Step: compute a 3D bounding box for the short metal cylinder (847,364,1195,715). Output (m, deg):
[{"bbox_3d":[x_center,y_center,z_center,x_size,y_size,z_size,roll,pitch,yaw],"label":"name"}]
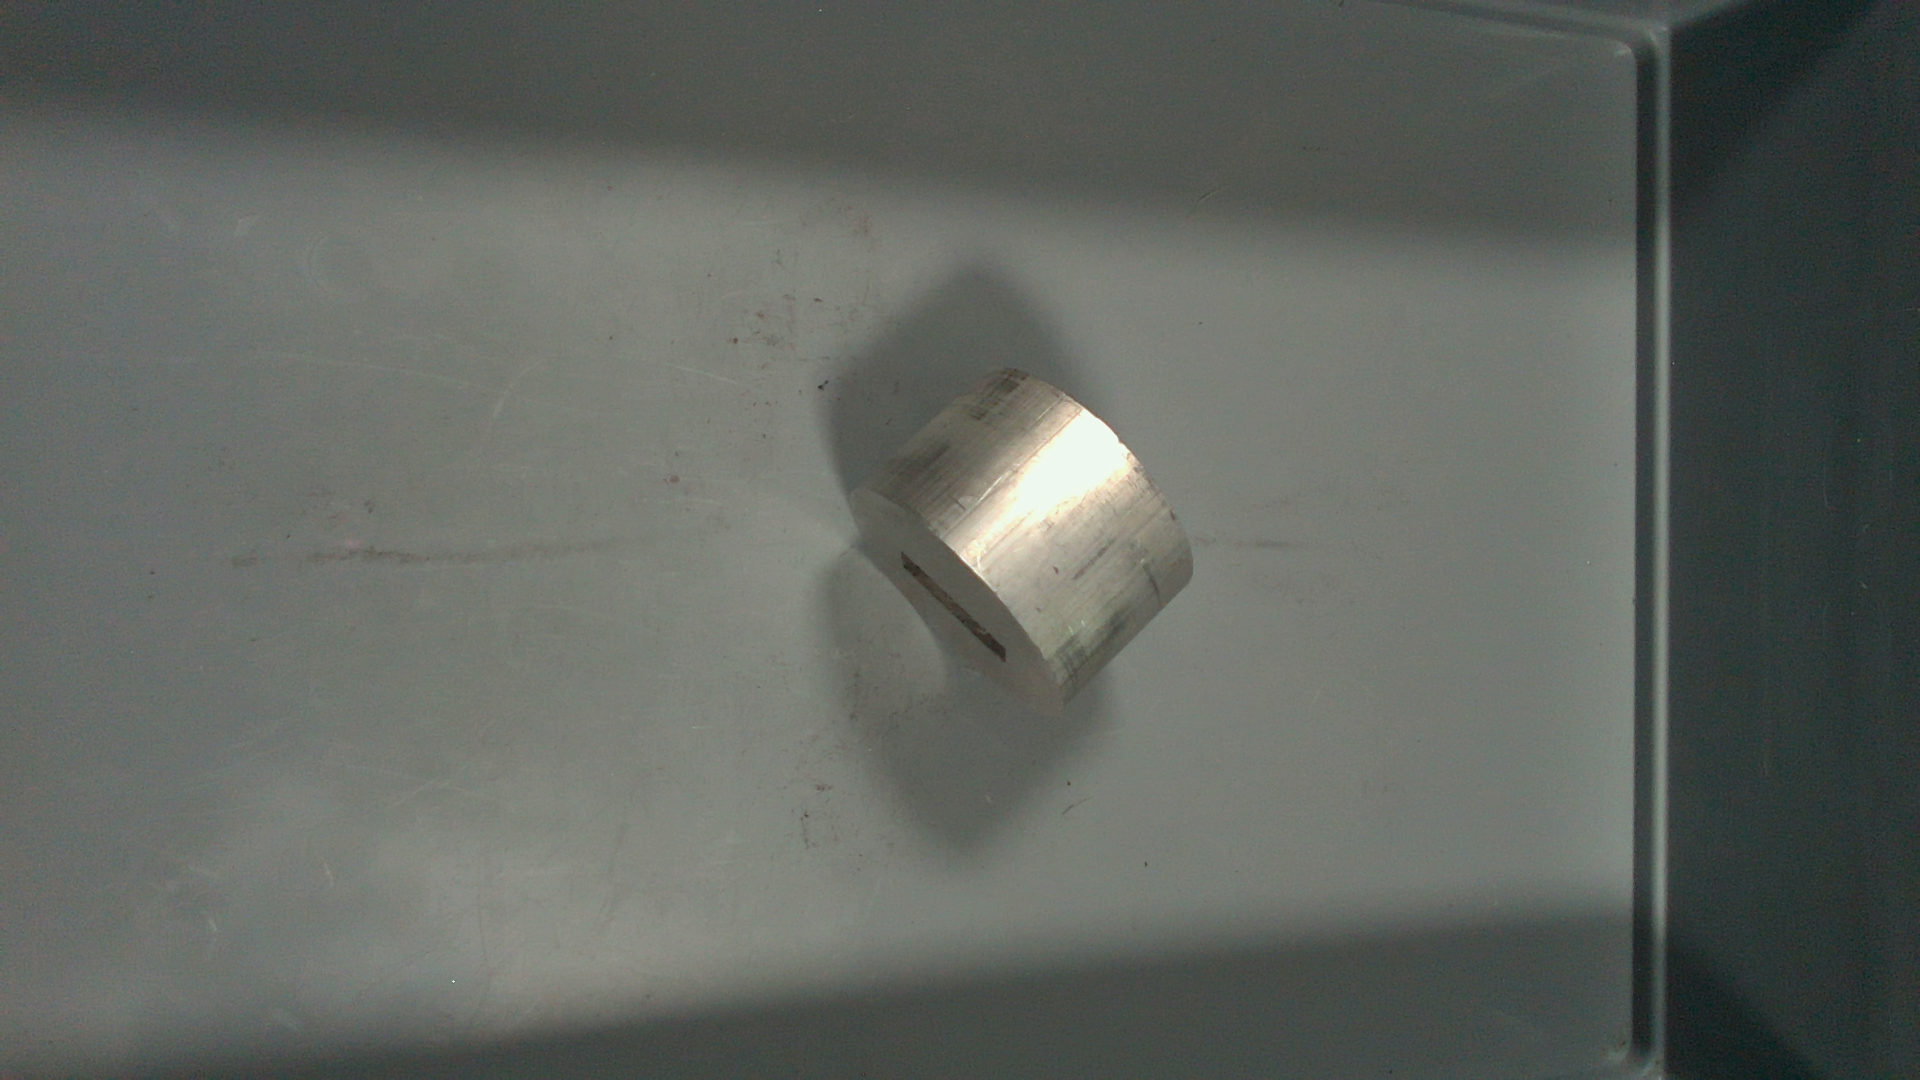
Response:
[{"bbox_3d":[0.016,0.000,0.368,0.050,0.080,0.080,-43,103,-15],"label":"short metal cylinder"}]
